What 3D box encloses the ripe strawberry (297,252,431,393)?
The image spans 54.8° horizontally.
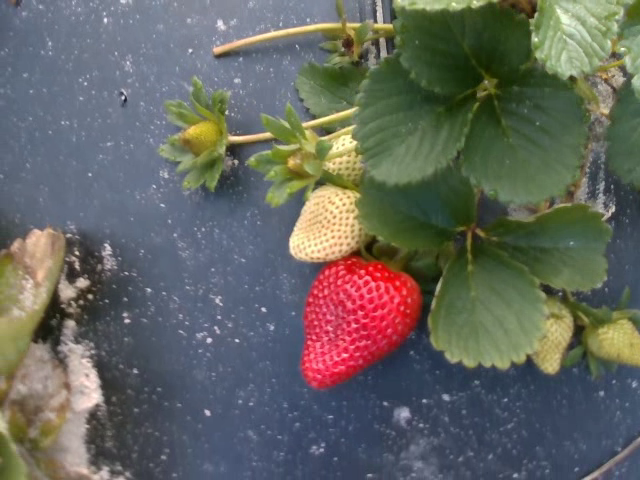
[{"bbox_3d":[0.007,0.035,0.243,0.051,0.048,0.055,20,57,45],"label":"ripe strawberry"}]
